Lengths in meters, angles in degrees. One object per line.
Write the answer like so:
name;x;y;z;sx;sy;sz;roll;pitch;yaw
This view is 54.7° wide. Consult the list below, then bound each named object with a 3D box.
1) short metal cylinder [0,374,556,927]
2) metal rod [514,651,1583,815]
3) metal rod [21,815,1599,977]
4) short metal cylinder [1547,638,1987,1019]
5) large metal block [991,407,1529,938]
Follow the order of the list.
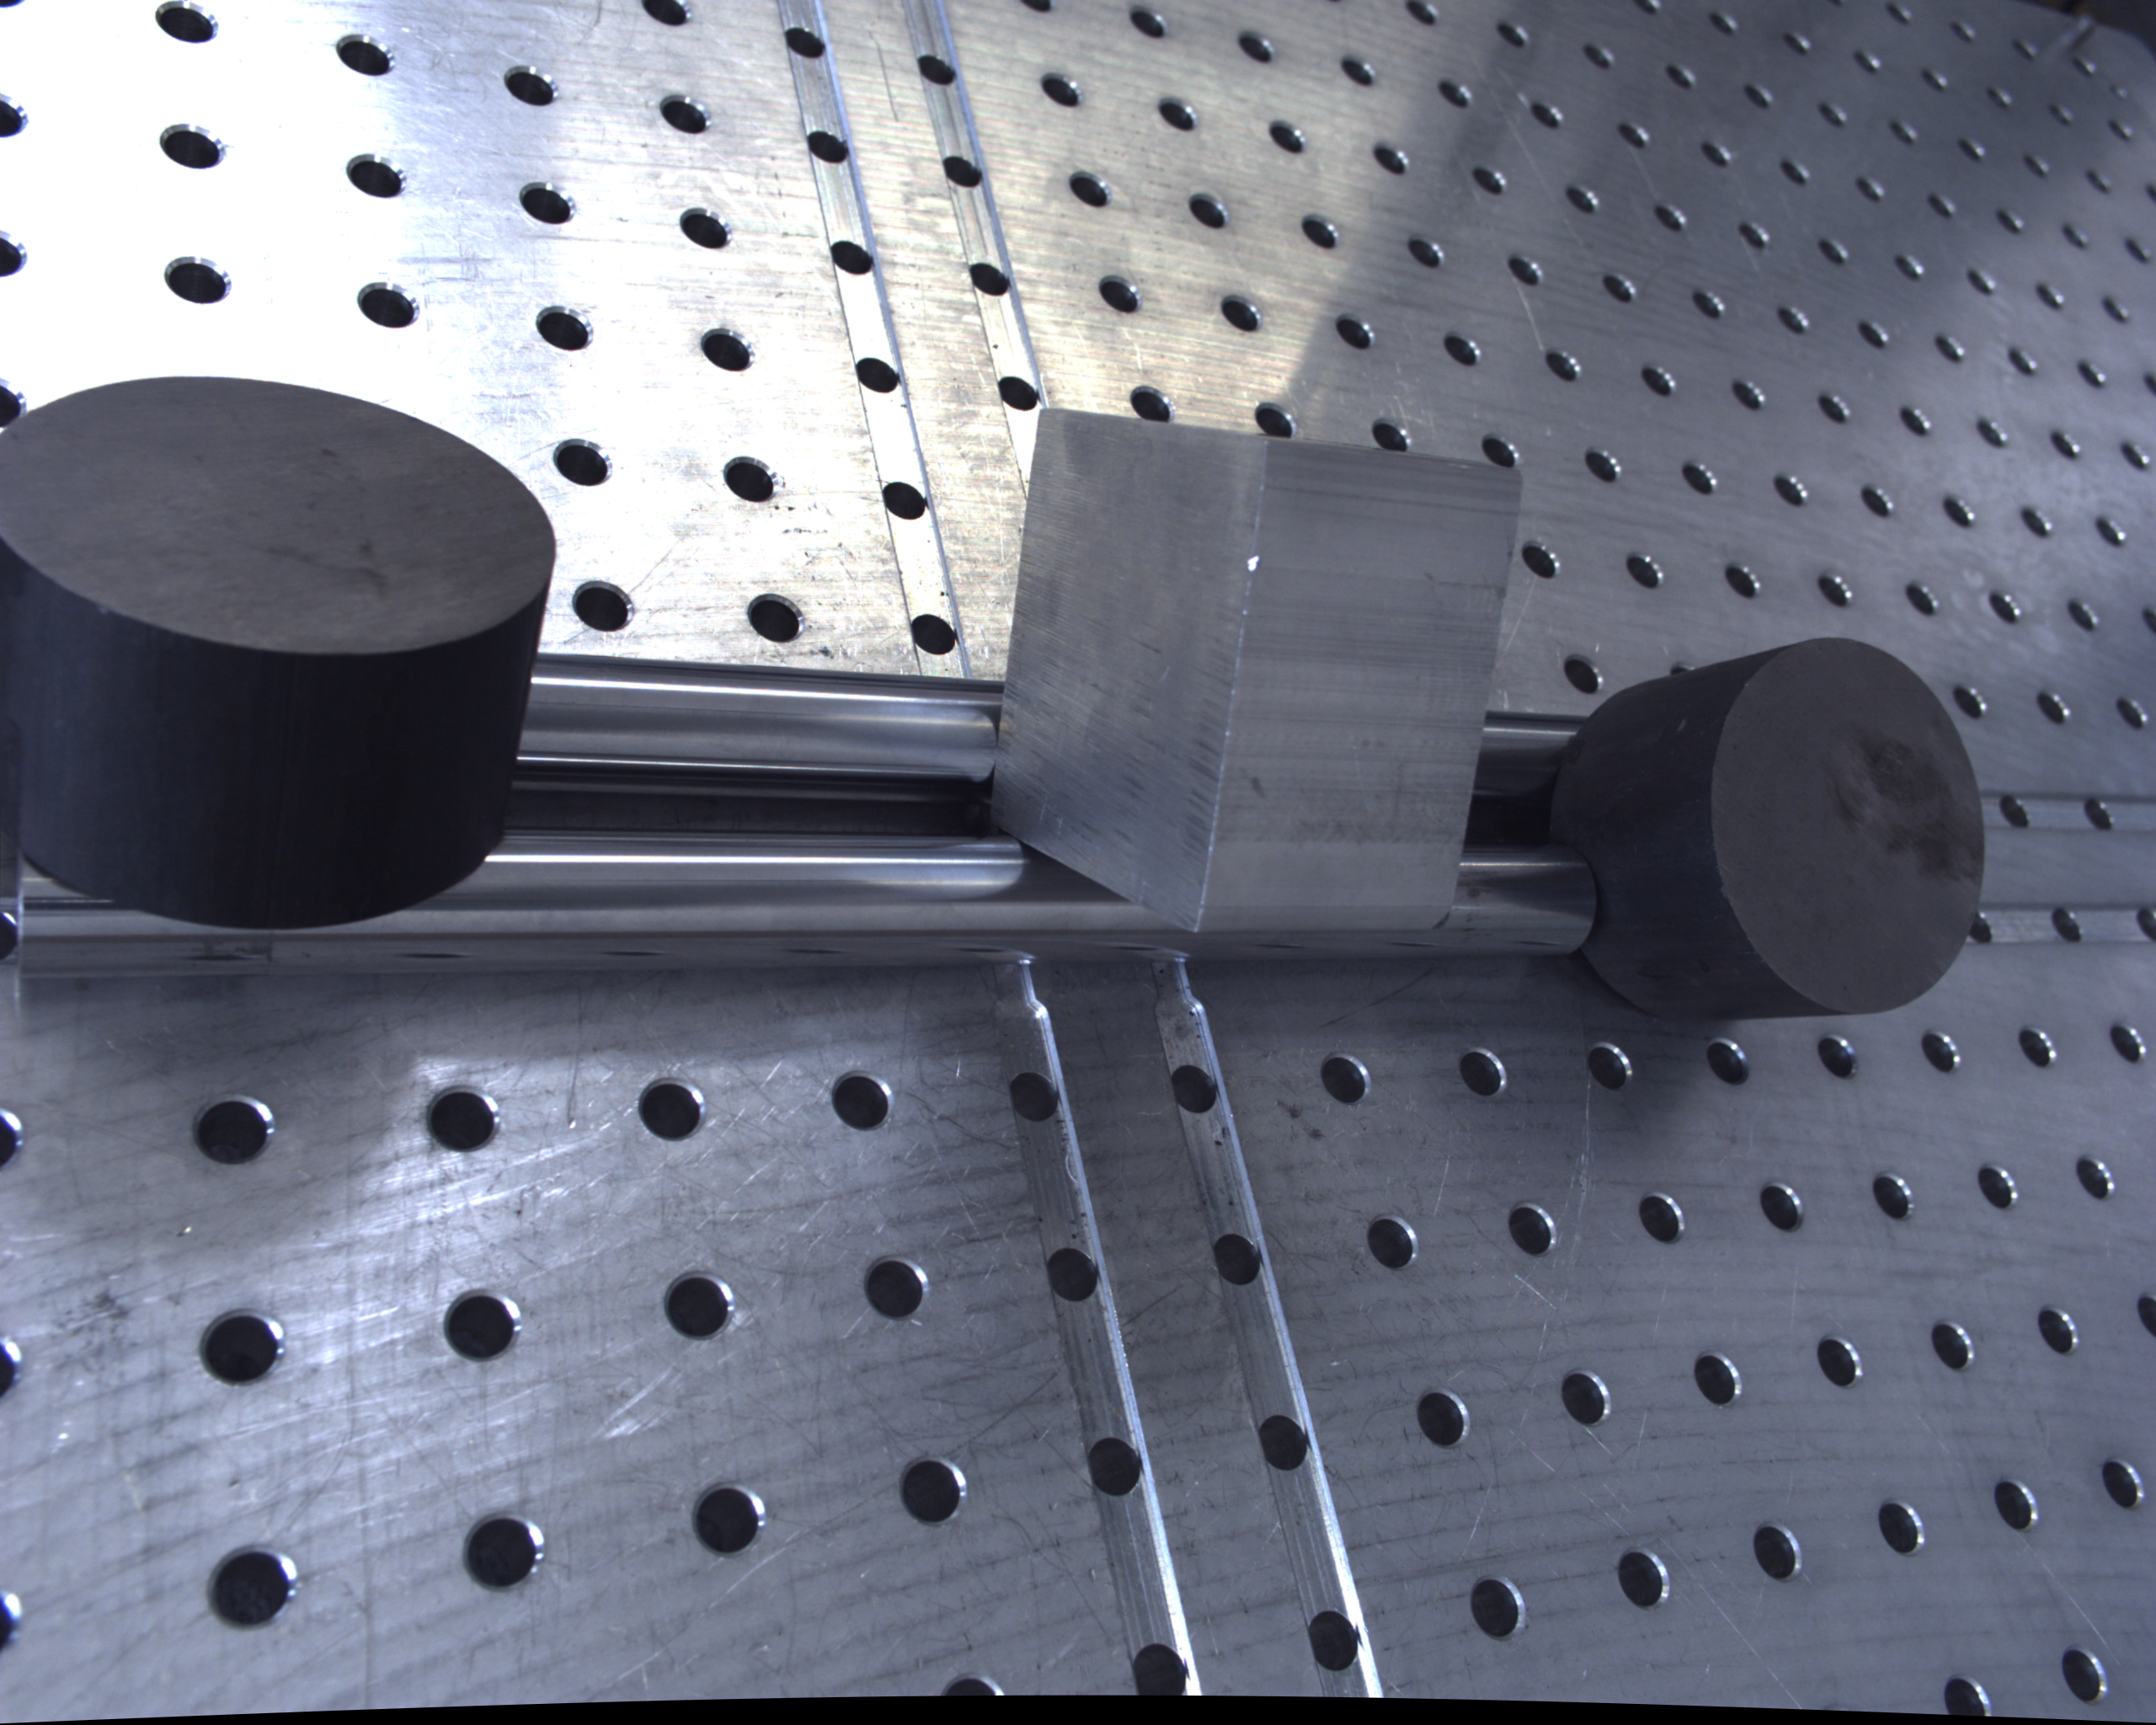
short metal cylinder;-0.127;-0.035;0.326;0.081;0.050;0.080;15;34;-10
metal rod;0.031;-0.024;0.438;0.303;0.025;0.025;1;62;-28
metal rod;-0.027;0.006;0.389;0.303;0.025;0.025;1;62;-28
short metal cylinder;0.151;-0.005;0.460;0.081;0.050;0.080;4;82;-27
large metal block;0.029;-0.036;0.372;0.050;0.080;0.079;1;103;-28
